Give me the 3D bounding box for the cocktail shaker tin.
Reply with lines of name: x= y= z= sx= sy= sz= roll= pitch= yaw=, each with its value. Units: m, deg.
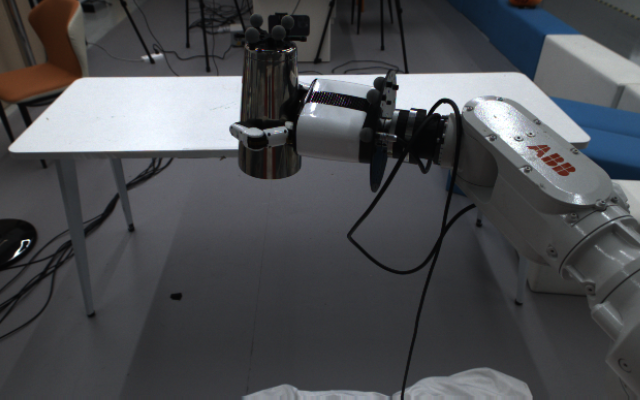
cocktail shaker tin: x=-0.065 y=-0.125 z=0.650 sx=0.093 sy=0.170 sz=0.093 roll=3 pitch=34 yaw=-2
